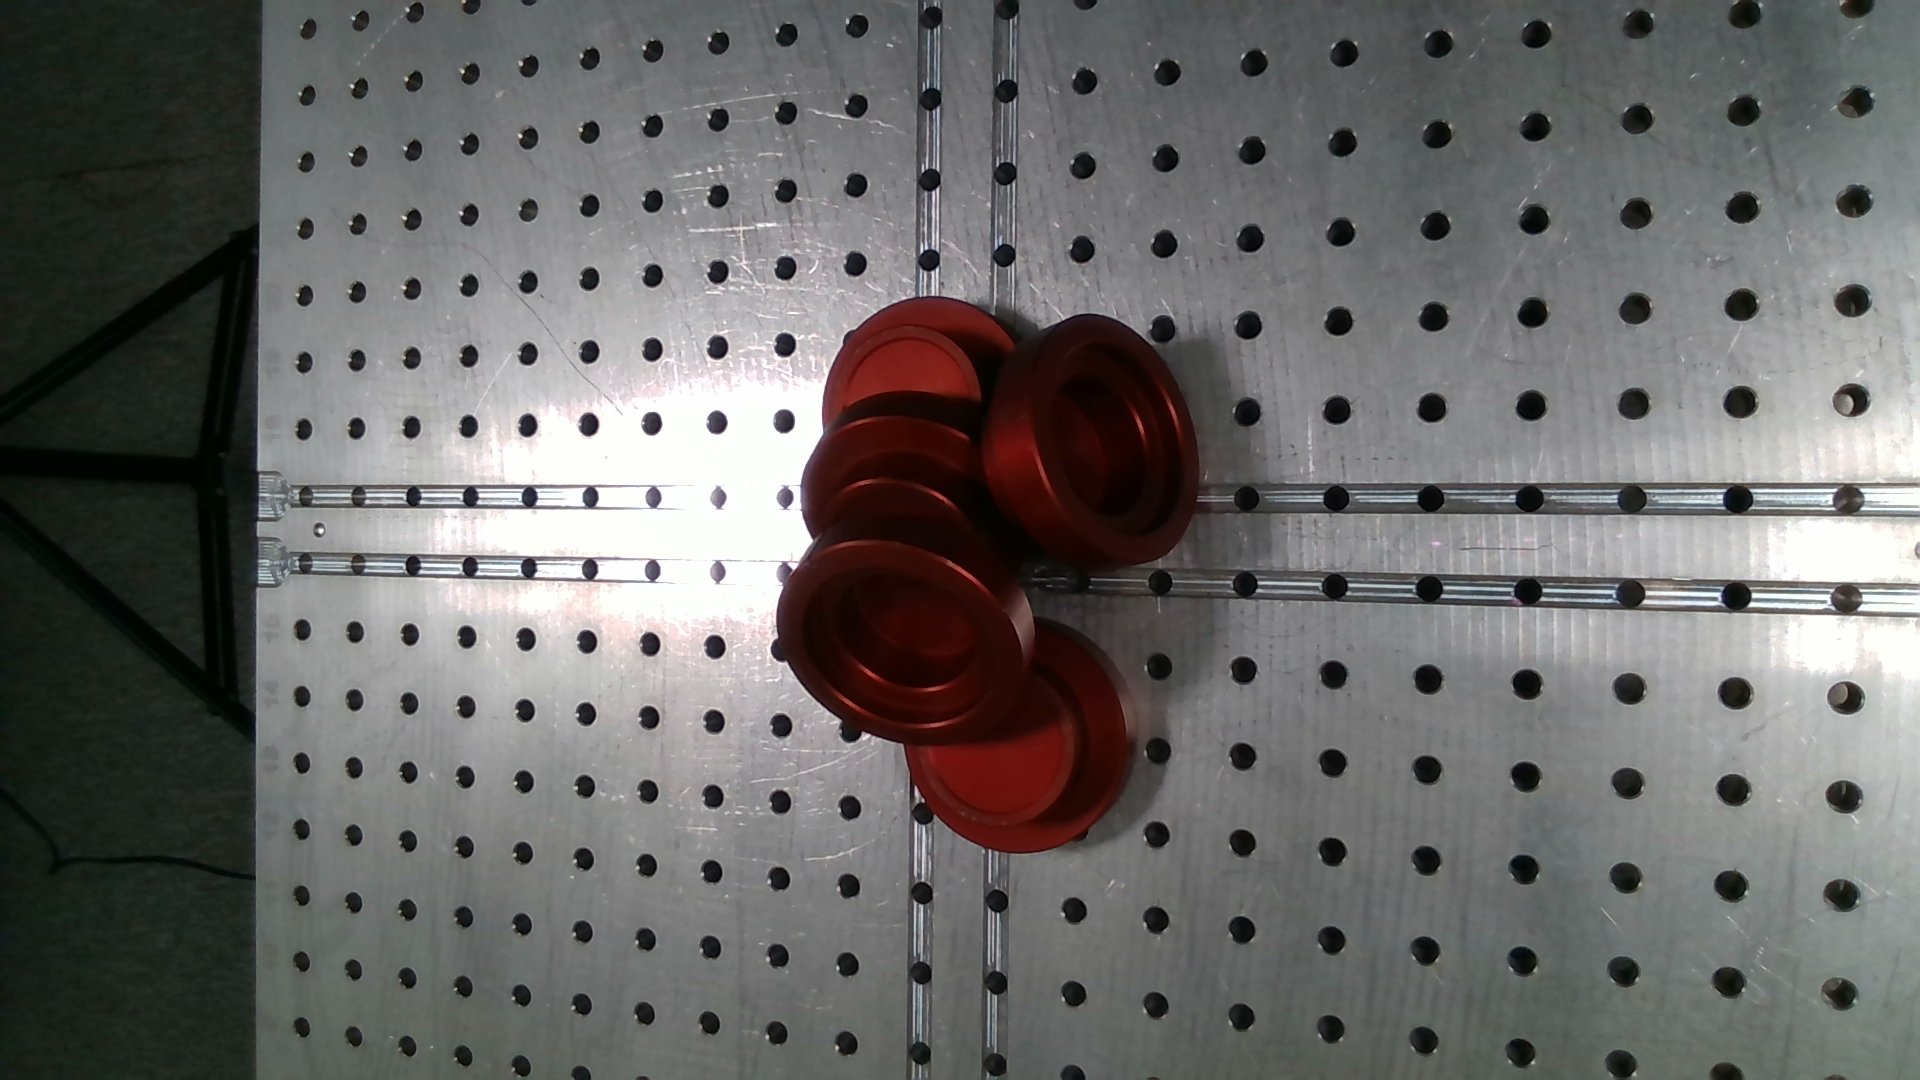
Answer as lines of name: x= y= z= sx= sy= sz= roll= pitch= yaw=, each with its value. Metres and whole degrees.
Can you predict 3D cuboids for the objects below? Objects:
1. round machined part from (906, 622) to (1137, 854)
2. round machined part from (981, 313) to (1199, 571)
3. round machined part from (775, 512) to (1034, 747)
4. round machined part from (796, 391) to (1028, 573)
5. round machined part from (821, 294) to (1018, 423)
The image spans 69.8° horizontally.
round machined part: x=0.021 y=0.082 z=0.572 sx=0.098 sy=0.042 sz=0.098 roll=0 pitch=91 yaw=20
round machined part: x=0.046 y=-0.035 z=0.537 sx=0.042 sy=0.098 sz=0.098 roll=-16 pitch=84 yaw=45
round machined part: x=-0.019 y=0.030 z=0.535 sx=0.098 sy=0.042 sz=0.098 roll=9 pitch=126 yaw=13
round machined part: x=-0.020 y=-0.008 z=0.561 sx=0.098 sy=0.042 sz=0.098 roll=8 pitch=129 yaw=10
round machined part: x=-0.015 y=-0.055 z=0.584 sx=0.098 sy=0.042 sz=0.098 roll=0 pitch=91 yaw=20
